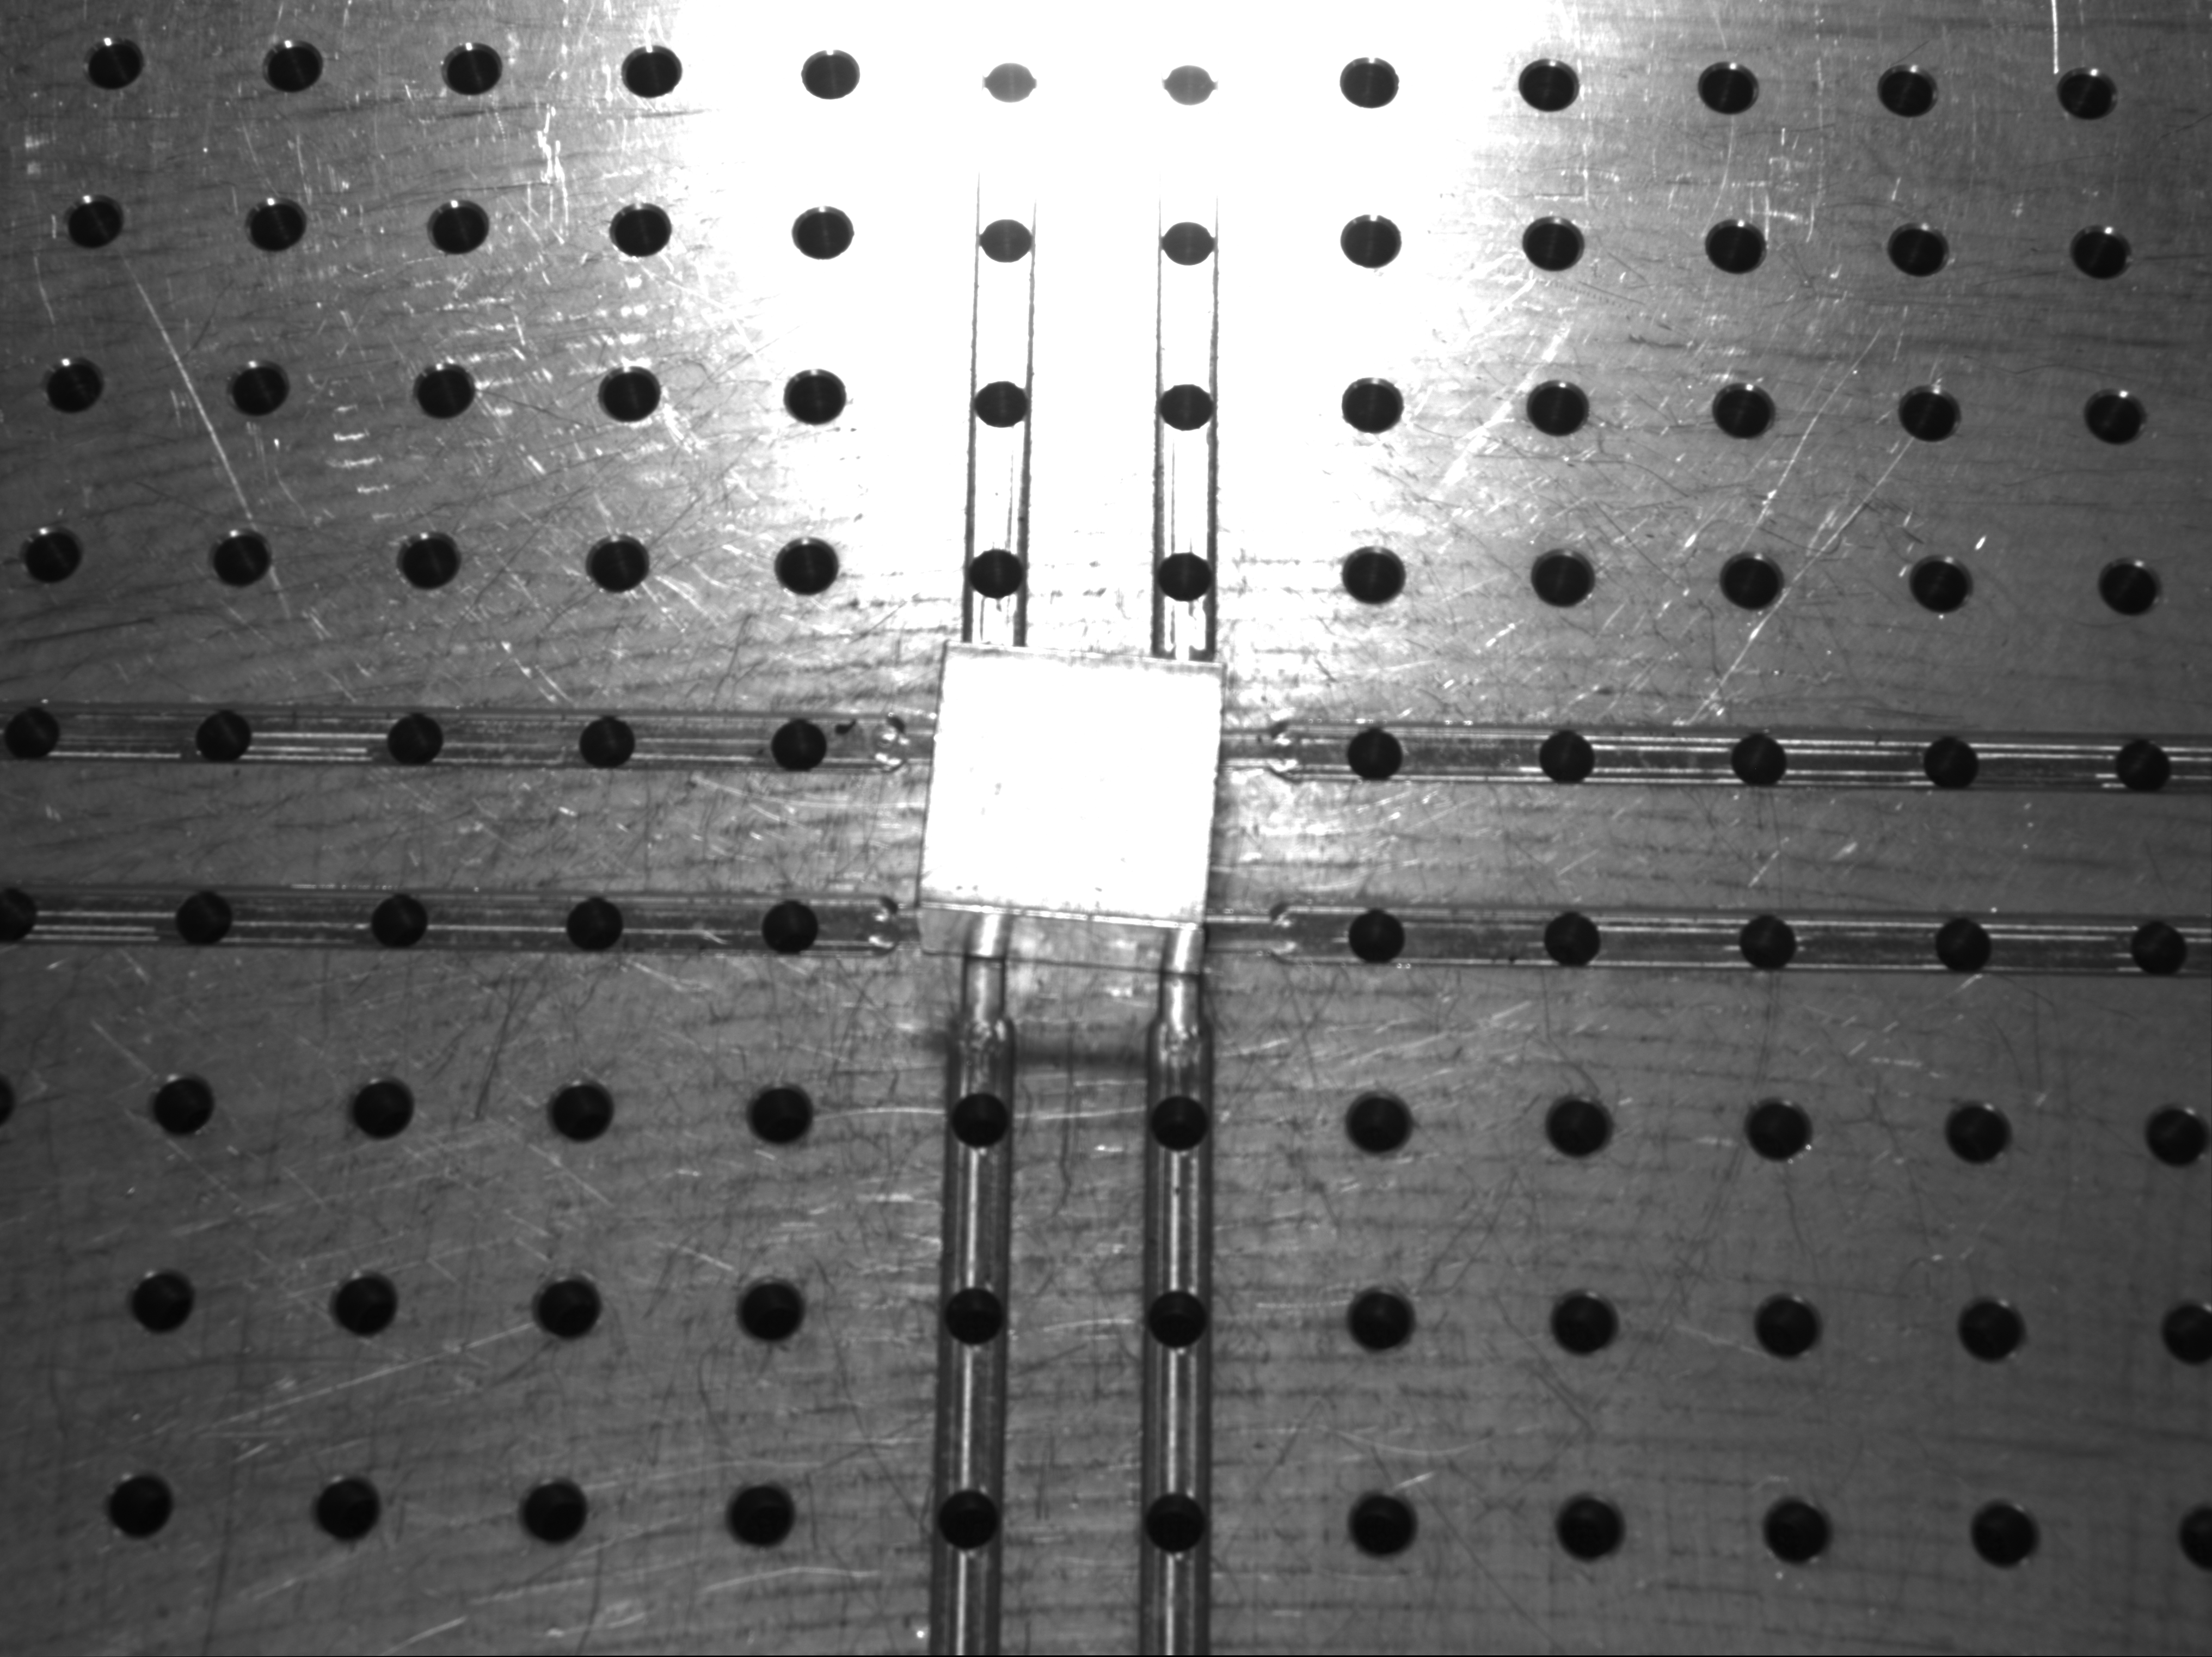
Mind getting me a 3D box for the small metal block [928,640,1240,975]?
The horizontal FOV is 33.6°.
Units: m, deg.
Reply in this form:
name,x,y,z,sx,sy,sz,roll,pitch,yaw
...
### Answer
name,x,y,z,sx,sy,sz,roll,pitch,yaw
small metal block,-0.003,-0.004,0.648,0.050,0.025,0.050,5,70,2
